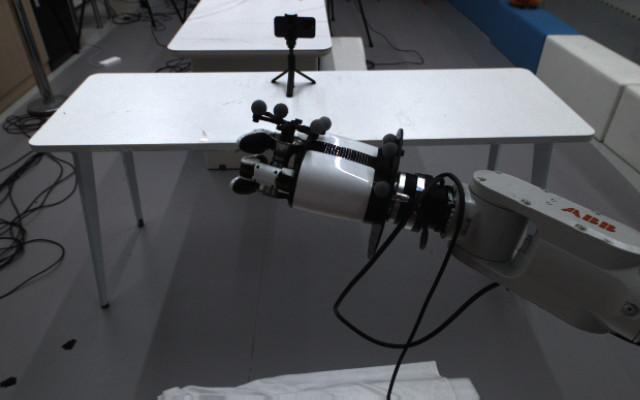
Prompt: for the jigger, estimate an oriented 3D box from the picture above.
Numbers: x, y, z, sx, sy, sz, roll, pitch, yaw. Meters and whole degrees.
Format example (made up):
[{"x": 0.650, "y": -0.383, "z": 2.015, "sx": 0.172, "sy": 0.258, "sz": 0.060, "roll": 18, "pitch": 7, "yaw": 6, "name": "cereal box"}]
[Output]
[{"x": -0.046, "y": -0.041, "z": 0.582, "sx": 0.043, "sy": 0.071, "sz": 0.043, "roll": 15, "pitch": 17, "yaw": -5, "name": "jigger"}]
